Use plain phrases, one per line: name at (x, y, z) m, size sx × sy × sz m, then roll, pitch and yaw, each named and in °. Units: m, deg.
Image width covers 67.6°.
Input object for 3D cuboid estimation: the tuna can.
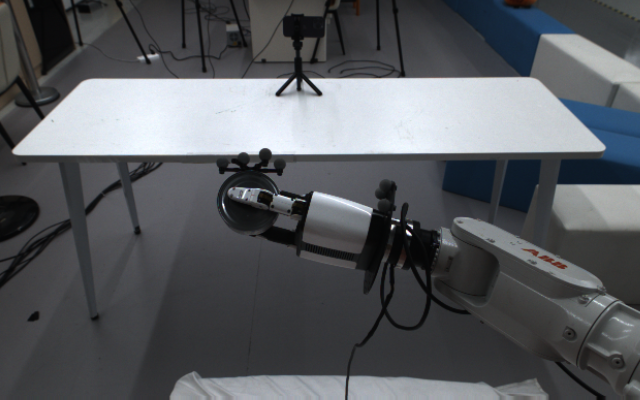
tuna can at (-0.092, 0.004, 0.661) m, size 0.085 × 0.034 × 0.085 m, roll 1°, pitch 70°, yaw -3°
